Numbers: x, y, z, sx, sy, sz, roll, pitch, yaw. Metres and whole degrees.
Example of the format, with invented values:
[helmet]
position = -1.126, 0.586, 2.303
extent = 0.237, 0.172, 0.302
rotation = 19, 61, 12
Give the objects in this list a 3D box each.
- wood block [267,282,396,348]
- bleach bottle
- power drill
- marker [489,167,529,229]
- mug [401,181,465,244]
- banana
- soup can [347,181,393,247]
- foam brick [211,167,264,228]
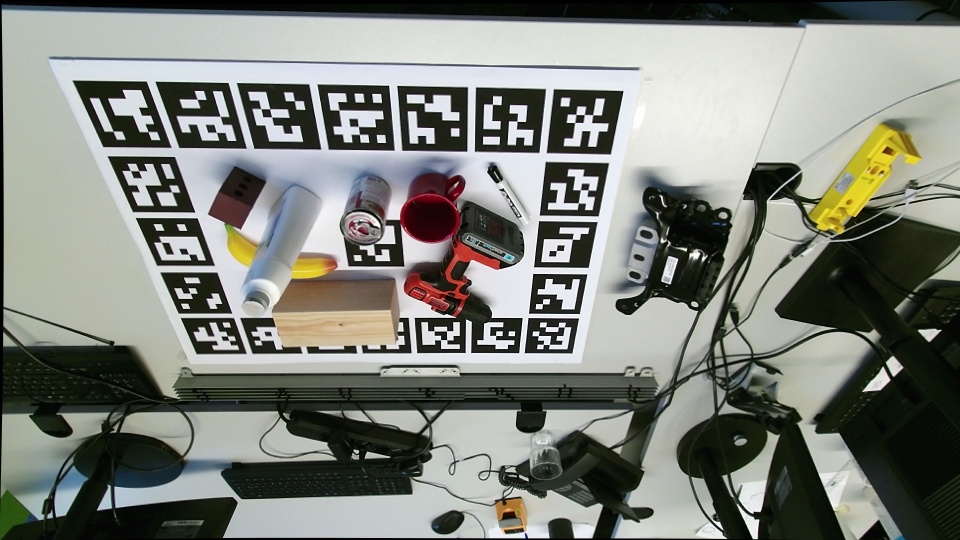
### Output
[wood block]
position = -0.264, 0.083, 0.980
extent = 0.207, 0.090, 0.090
rotation = 0, 126, -2
[bleach bottle]
position = -0.300, -0.022, 0.797
extent = 0.068, 0.249, 0.102
rotation = 25, 123, -20
[power drill]
position = -0.026, 0.009, 0.957
extent = 0.185, 0.057, 0.187
rotation = 27, 123, -17
[marker]
position = 0.048, -0.118, 0.883
extent = 0.020, 0.019, 0.121
rotation = -25, 123, 13
[mug]
position = -0.068, -0.097, 0.852
extent = 0.117, 0.081, 0.093
rotation = -40, 117, 21
[banana]
position = -0.342, -0.002, 0.940
extent = 0.198, 0.039, 0.074
rotation = 15, 112, -10
[soup can]
position = -0.176, -0.086, 0.838
extent = 0.068, 0.101, 0.068
rotation = 0, 131, 0
[foam brick]
position = -0.380, -0.112, 0.836
extent = 0.053, 0.077, 0.051
rotation = 29, 123, -24
